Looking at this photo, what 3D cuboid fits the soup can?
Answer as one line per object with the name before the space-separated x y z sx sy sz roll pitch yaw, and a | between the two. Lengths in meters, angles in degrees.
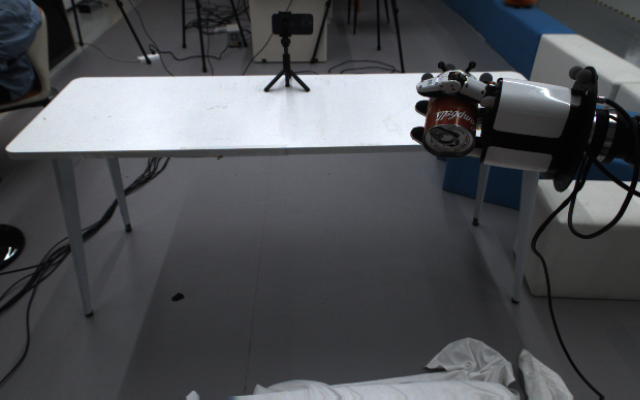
soup can | 0.178 -0.117 0.650 0.067 0.067 0.101 9 59 10
